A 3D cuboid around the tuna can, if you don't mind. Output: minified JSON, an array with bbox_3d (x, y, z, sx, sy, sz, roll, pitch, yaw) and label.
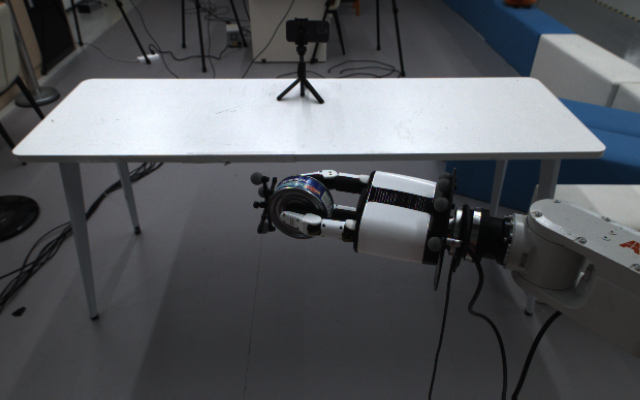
[{"bbox_3d":[-0.025,0.008,0.658,0.085,0.085,0.034,9,33,9],"label":"tuna can"}]
